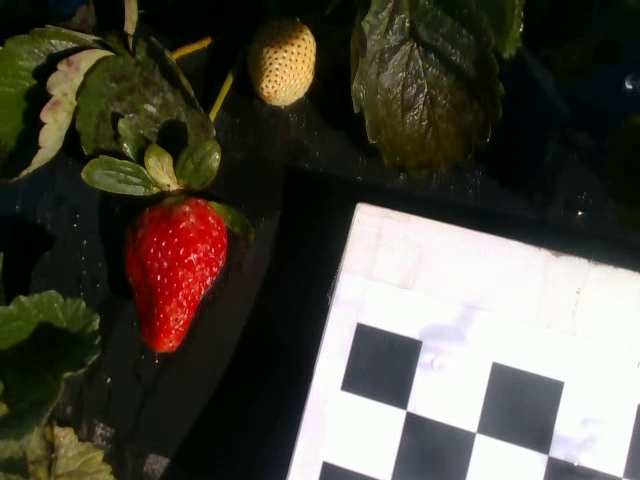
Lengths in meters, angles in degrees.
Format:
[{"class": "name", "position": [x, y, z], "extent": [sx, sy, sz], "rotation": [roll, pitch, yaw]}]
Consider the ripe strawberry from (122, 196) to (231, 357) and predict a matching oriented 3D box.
[{"class": "ripe strawberry", "position": [-0.057, 0.012, 0.219], "extent": [0.048, 0.069, 0.040], "rotation": [-3, -11, 8]}]
